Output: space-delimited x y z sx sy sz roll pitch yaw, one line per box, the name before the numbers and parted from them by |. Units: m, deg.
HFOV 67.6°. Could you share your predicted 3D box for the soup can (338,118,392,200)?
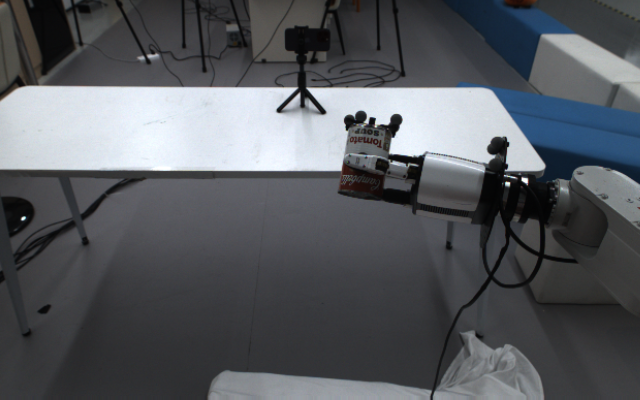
soup can | 0.068 -0.056 0.721 0.067 0.101 0.067 9 -5 1
